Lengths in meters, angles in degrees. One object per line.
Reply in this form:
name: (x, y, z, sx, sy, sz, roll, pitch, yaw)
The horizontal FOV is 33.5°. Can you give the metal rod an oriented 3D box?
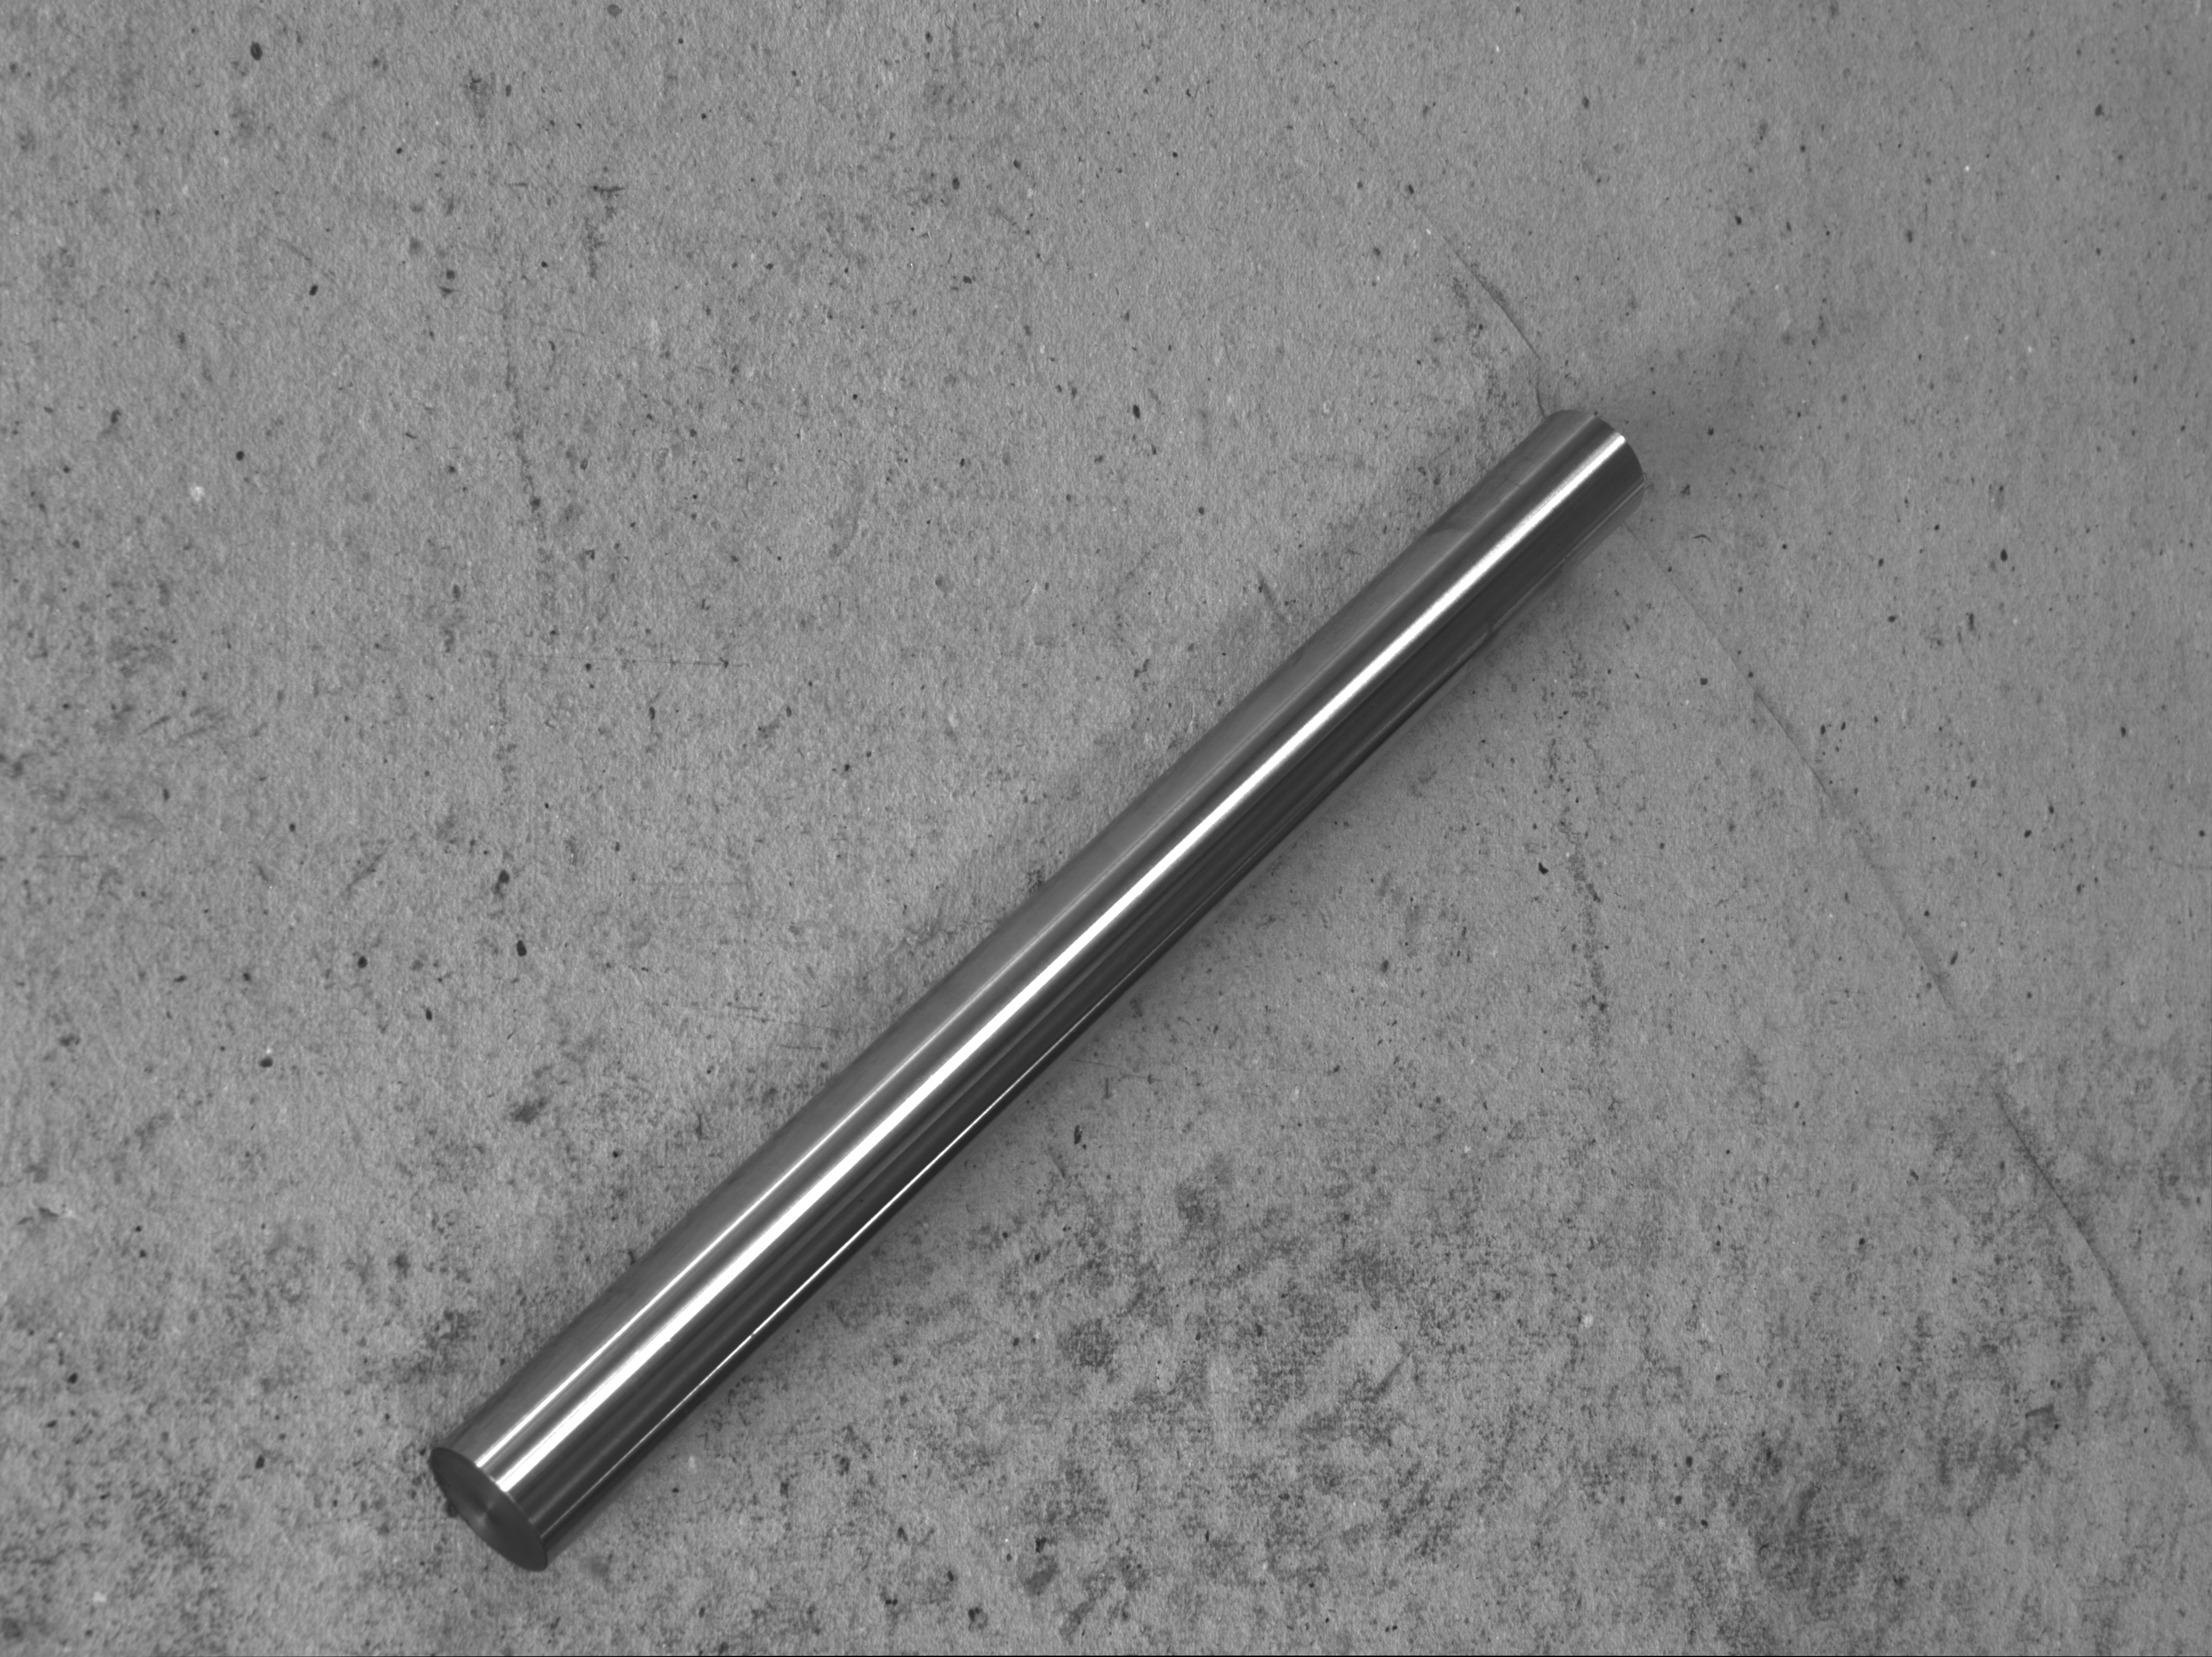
metal rod: (-0.001, 0.017, 0.636, 0.301, 0.025, 0.025, -43, 116, -31)
